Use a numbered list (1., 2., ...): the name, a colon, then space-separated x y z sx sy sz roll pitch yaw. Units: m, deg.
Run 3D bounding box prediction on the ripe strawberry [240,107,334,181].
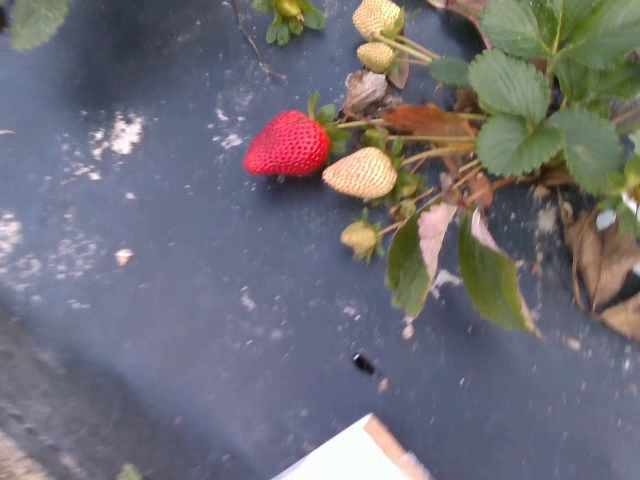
1. ripe strawberry: -0.020 -0.054 0.358 0.059 0.050 0.033 -39 -16 -29
